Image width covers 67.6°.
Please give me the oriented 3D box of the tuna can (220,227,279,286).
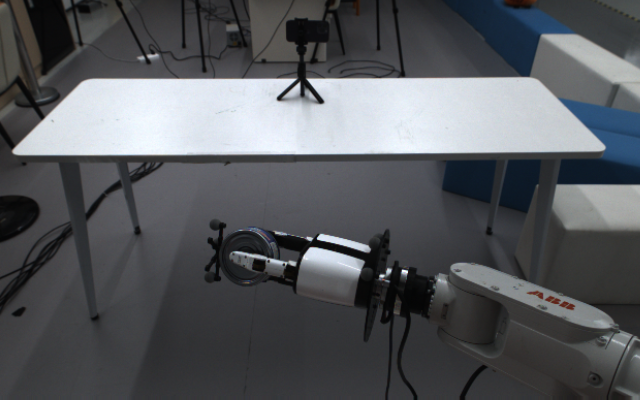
[{"bbox_3d":[-0.102,0.083,0.712,0.085,0.085,0.034,10,3,11],"label":"tuna can"}]
